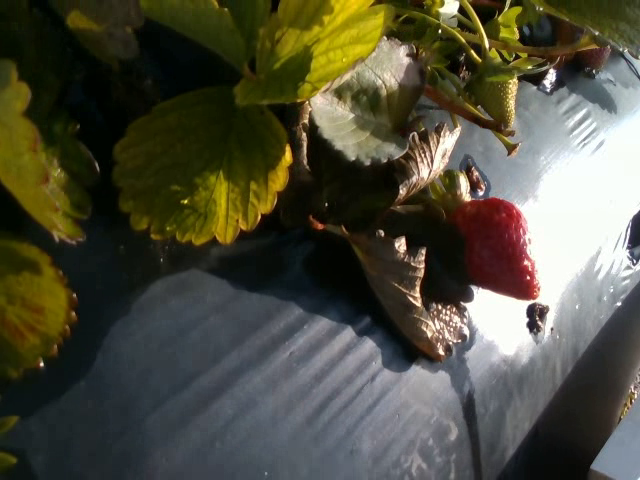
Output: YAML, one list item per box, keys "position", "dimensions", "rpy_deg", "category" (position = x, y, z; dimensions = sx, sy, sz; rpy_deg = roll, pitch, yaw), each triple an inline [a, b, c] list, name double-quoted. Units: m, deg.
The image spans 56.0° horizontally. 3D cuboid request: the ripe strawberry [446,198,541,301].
- position: [0.067, 0.011, 0.214]
  dimensions: [0.046, 0.054, 0.037]
  rpy_deg: [-2, -31, -49]
  category: "ripe strawberry"
